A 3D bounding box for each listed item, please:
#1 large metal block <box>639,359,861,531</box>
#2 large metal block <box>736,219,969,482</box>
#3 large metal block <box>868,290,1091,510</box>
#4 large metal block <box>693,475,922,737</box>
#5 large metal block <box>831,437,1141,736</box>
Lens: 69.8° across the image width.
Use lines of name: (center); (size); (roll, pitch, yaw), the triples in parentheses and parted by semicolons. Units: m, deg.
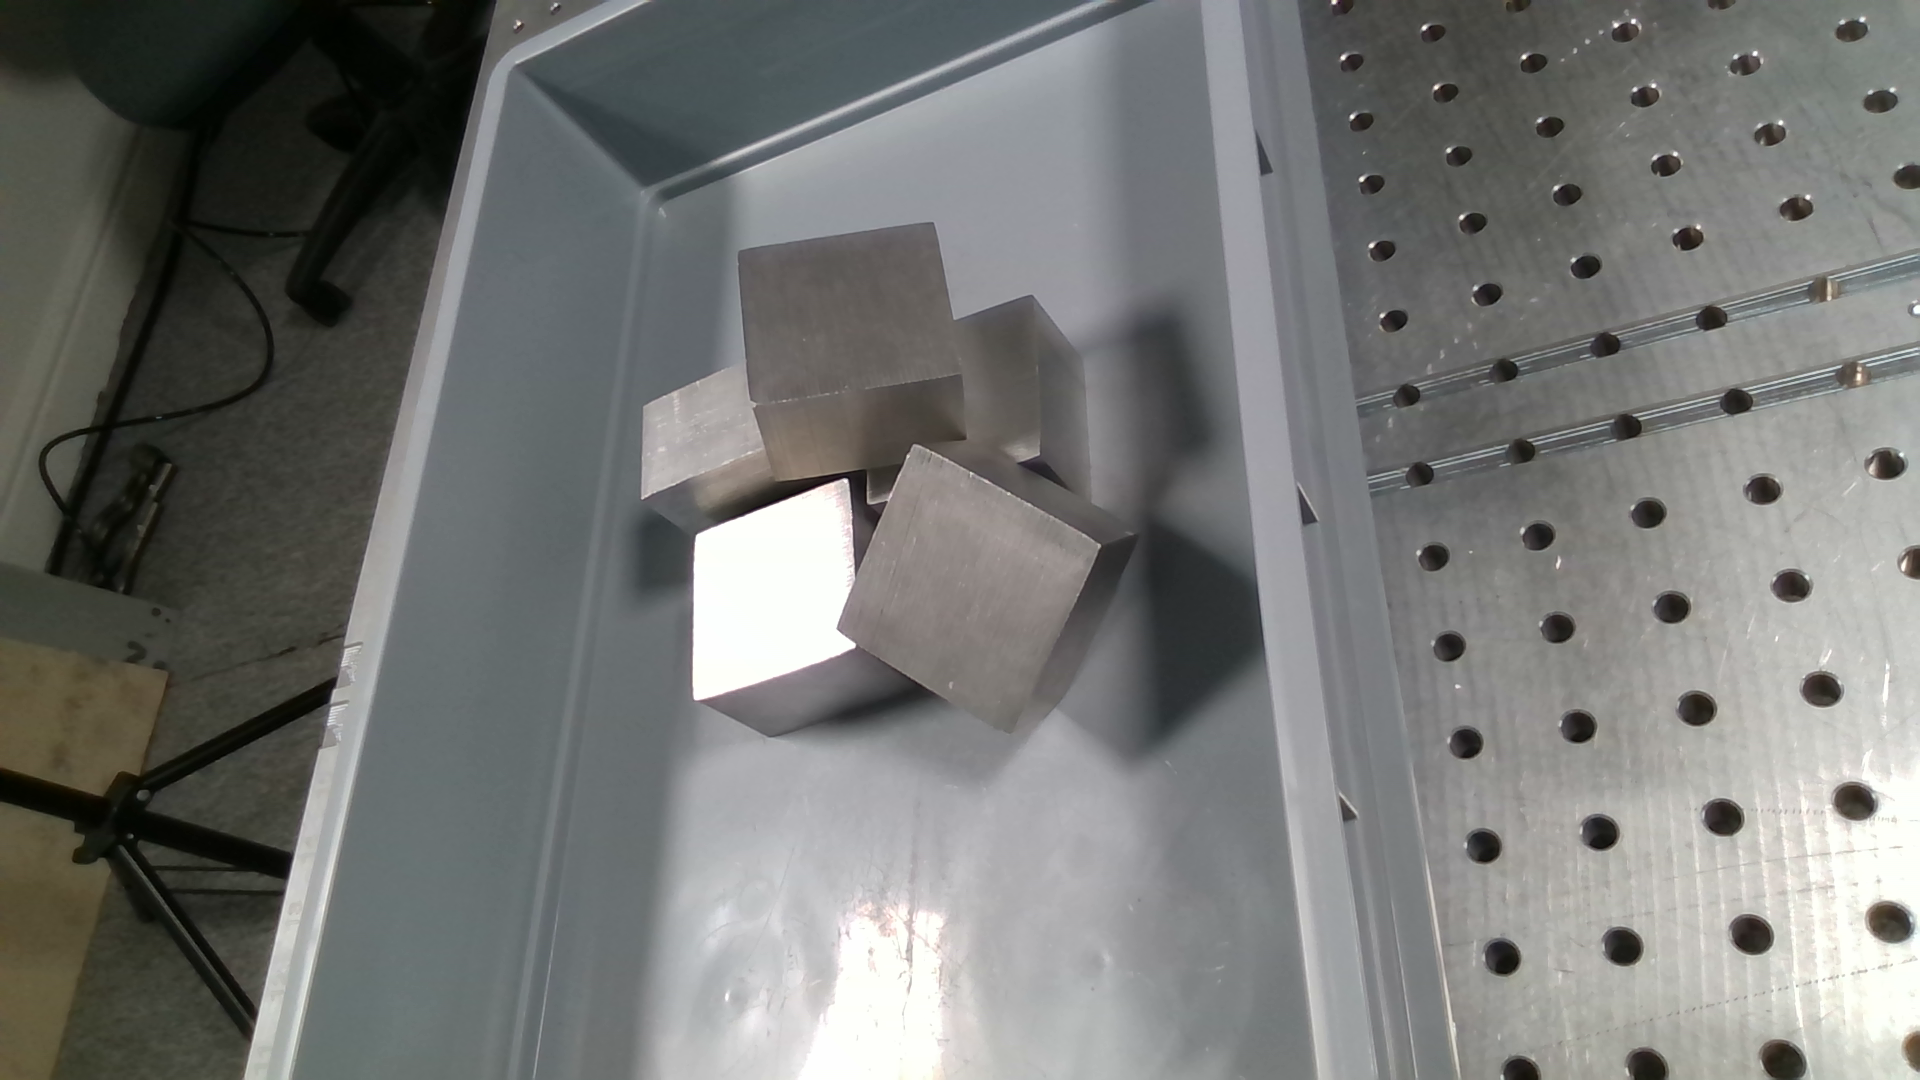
large metal block: (-0.086, -0.035, 0.620); (0.080, 0.080, 0.050); (-21, 56, 21)
large metal block: (-0.043, -0.076, 0.550); (0.080, 0.050, 0.080); (-9, 57, -1)
large metal block: (0.008, -0.049, 0.589); (0.080, 0.050, 0.080); (-15, 58, 24)
large metal block: (-0.066, 0.030, 0.590); (0.080, 0.050, 0.080); (-19, 57, 22)
large metal block: (0.010, 0.015, 0.521); (0.080, 0.050, 0.080); (29, 107, 18)
